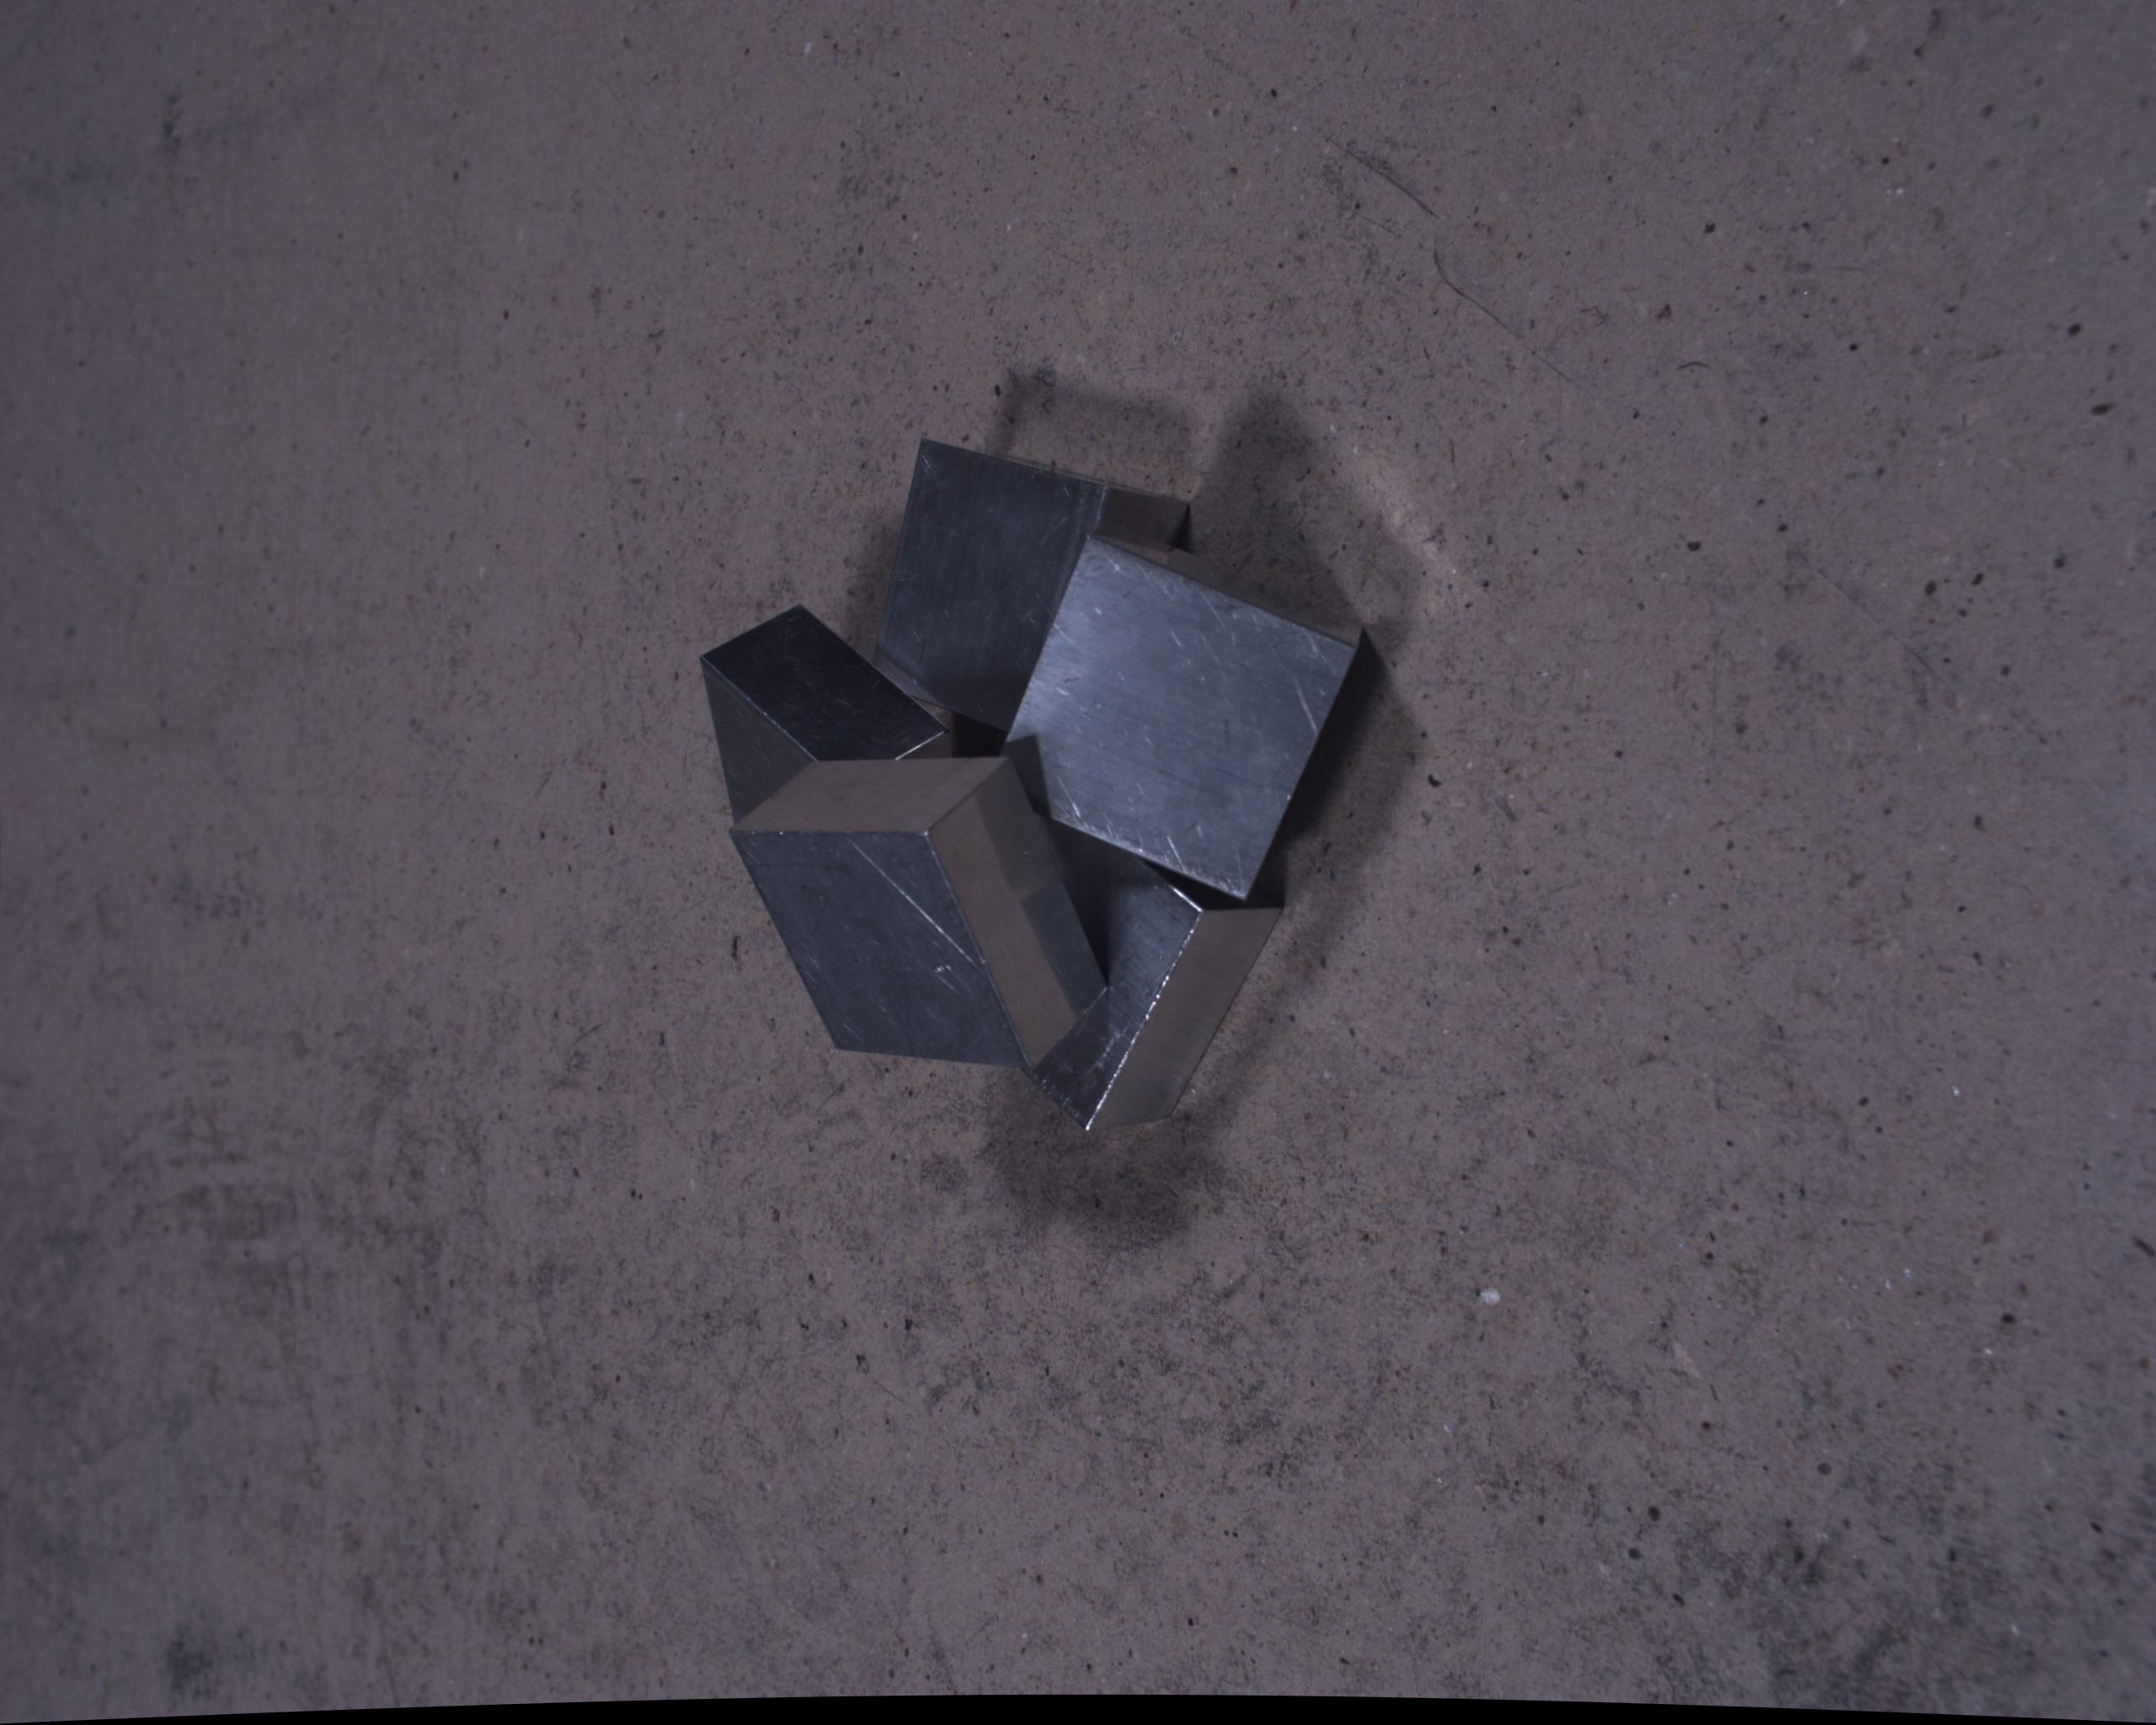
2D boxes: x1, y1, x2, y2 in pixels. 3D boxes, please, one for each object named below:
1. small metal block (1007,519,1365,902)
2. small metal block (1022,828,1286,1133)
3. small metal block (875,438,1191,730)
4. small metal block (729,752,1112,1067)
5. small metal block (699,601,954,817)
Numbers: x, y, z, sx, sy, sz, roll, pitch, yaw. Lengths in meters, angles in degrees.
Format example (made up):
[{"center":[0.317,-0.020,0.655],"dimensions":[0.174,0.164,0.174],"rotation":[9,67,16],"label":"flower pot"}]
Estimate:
[{"center":[0.018,-0.028,0.375],"dimensions":[0.050,0.025,0.050],"rotation":[23,107,2],"label":"small metal block"},{"center":[0.004,0.016,0.402],"dimensions":[0.050,0.025,0.050],"rotation":[40,114,32],"label":"small metal block"},{"center":[-0.010,-0.053,0.414],"dimensions":[0.050,0.025,0.050],"rotation":[22,104,37],"label":"small metal block"},{"center":[-0.028,0.008,0.381],"dimensions":[0.050,0.025,0.050],"rotation":[0,123,39],"label":"small metal block"},{"center":[-0.050,-0.017,0.430],"dimensions":[0.050,0.025,0.050],"rotation":[40,150,31],"label":"small metal block"}]
